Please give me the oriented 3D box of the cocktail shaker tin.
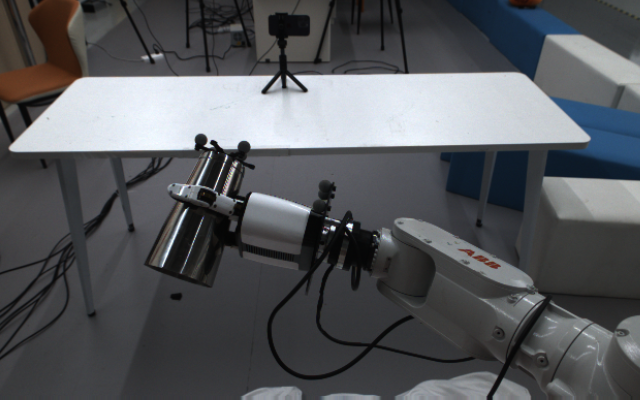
[{"bbox_3d":[-0.163,0.023,0.655,0.093,0.093,0.170,13,71,15],"label":"cocktail shaker tin"}]
